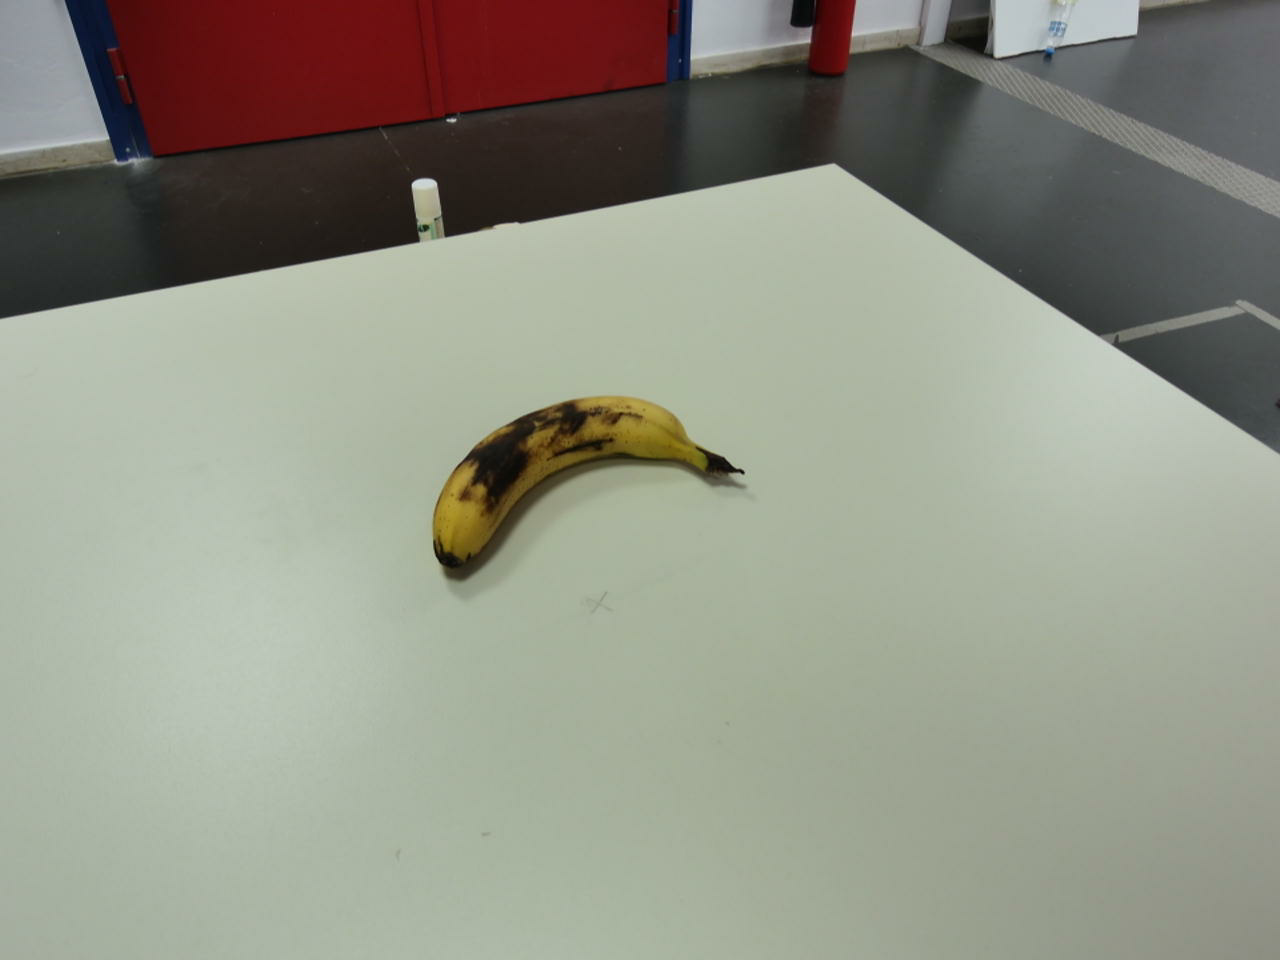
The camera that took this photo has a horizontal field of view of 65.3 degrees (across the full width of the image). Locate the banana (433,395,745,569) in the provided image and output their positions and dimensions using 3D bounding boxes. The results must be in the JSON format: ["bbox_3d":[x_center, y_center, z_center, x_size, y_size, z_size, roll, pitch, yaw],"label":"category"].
[{"bbox_3d":[-0.044,-0.010,0.597,0.187,0.039,0.094,-17,42,-21],"label":"banana"}]
